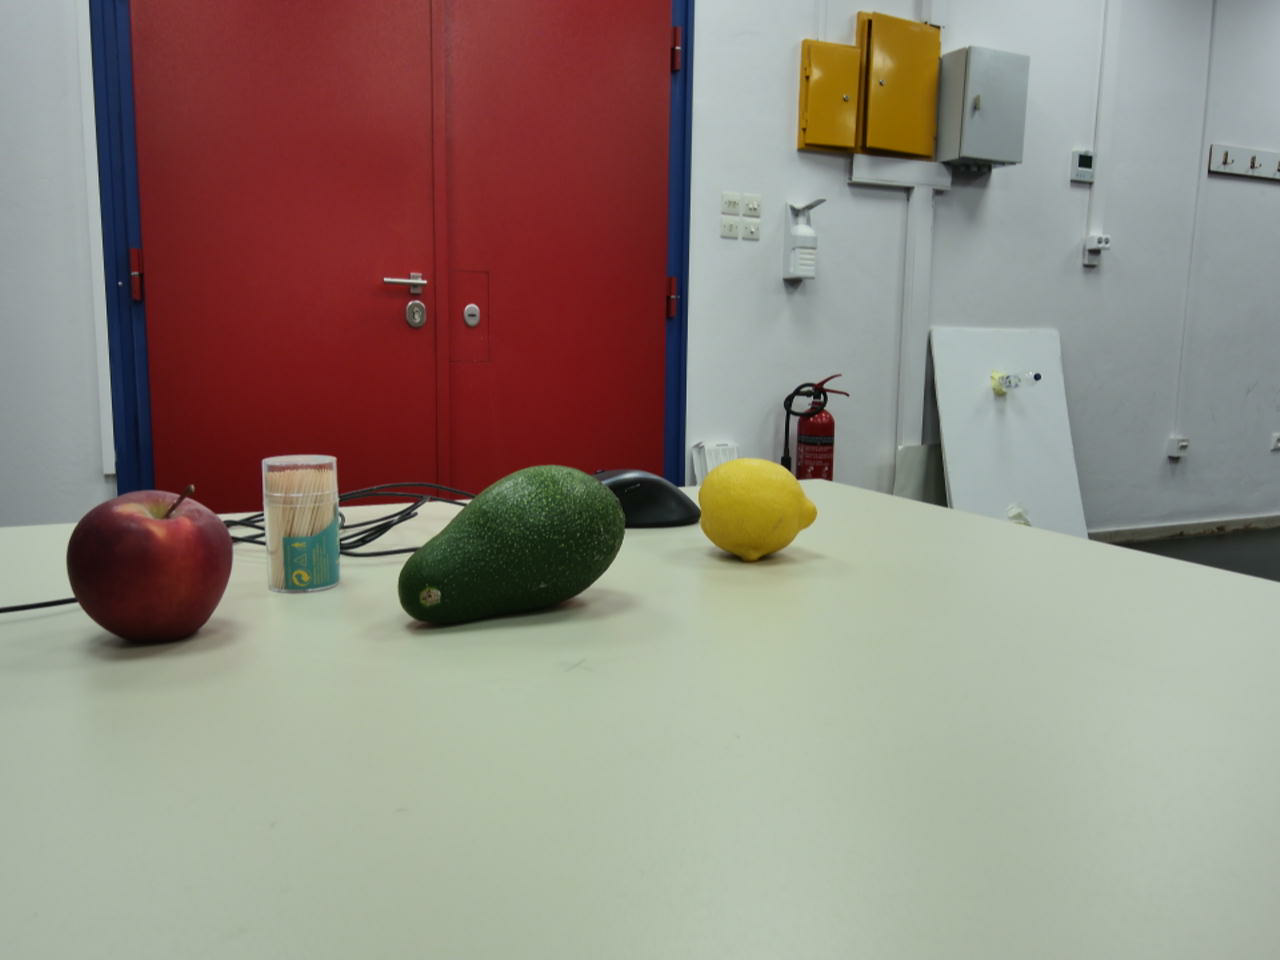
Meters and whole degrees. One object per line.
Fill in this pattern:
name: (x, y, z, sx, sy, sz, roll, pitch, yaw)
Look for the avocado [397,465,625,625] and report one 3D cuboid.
avocado: (-0.067, 0.030, 0.524, 0.123, 0.076, 0.074, -2, 7, -19)
